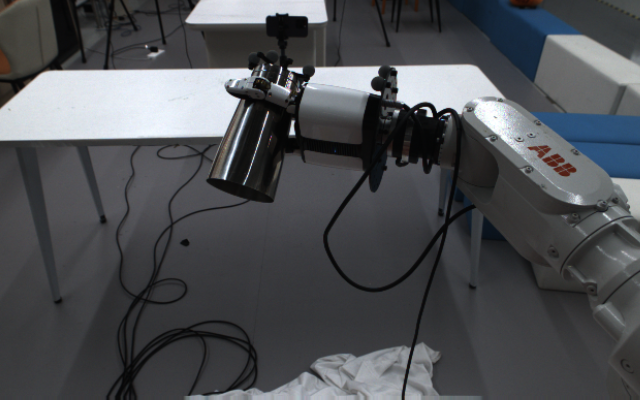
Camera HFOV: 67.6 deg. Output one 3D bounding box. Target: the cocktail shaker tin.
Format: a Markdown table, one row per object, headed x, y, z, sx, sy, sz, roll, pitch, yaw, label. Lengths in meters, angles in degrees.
| x | y | z | sx | sy | sz | roll | pitch | yaw | label |
| --- | --- | --- | --- | --- | --- | --- | --- | --- | --- |
| -0.080 | -0.094 | 0.649 | 0.093 | 0.093 | 0.170 | 13 | 77 | 15 | cocktail shaker tin |
